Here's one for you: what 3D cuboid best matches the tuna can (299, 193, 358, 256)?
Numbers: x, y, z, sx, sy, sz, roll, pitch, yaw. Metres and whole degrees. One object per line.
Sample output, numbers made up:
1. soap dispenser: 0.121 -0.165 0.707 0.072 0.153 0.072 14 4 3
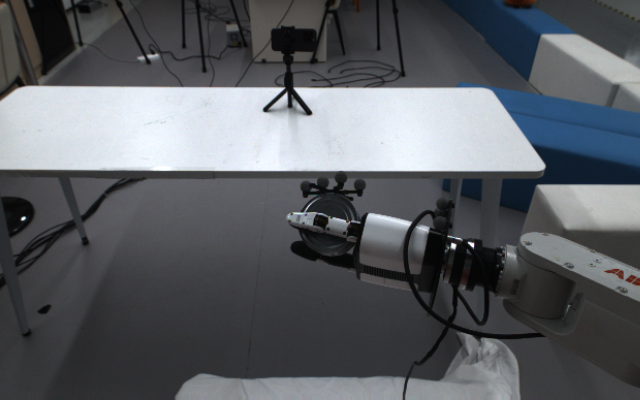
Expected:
1. tuna can: 0.016 0.035 0.681 0.085 0.034 0.085 -5 72 14
